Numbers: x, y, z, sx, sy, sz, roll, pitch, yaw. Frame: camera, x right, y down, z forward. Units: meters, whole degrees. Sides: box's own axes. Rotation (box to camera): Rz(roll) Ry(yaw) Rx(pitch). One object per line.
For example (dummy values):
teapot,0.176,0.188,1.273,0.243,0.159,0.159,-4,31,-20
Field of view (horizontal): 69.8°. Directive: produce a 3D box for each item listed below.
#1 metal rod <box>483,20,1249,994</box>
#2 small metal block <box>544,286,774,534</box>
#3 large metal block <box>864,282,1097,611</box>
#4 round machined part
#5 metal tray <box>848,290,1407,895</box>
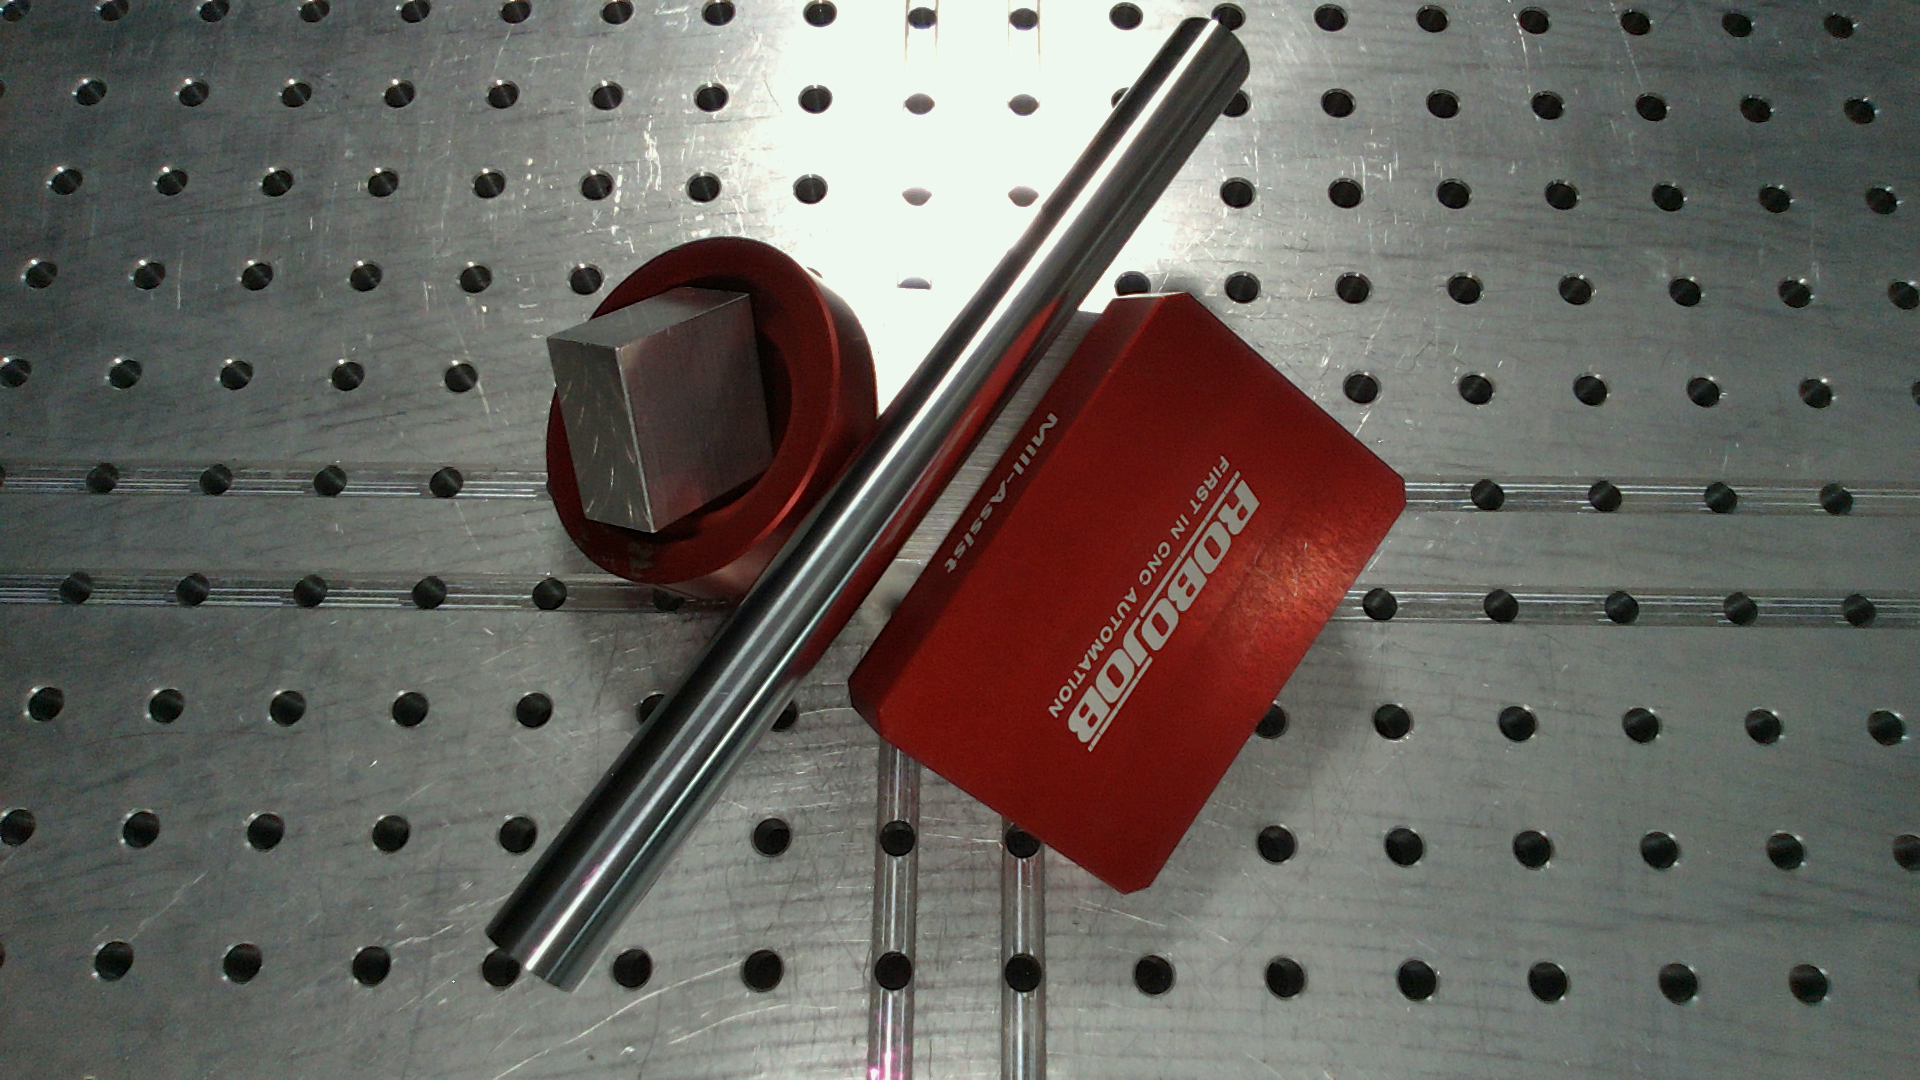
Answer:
metal rod,-0.012,-0.022,0.352,0.025,0.025,0.300,32,73,11
small metal block,-0.078,-0.036,0.367,0.025,0.050,0.050,11,29,31
large metal block,0.014,-0.020,0.391,0.080,0.050,0.080,8,70,3
round machined part,-0.065,-0.031,0.385,0.098,0.042,0.098,-8,71,24
metal tray,0.044,0.013,0.354,0.090,0.030,0.130,36,86,-20
